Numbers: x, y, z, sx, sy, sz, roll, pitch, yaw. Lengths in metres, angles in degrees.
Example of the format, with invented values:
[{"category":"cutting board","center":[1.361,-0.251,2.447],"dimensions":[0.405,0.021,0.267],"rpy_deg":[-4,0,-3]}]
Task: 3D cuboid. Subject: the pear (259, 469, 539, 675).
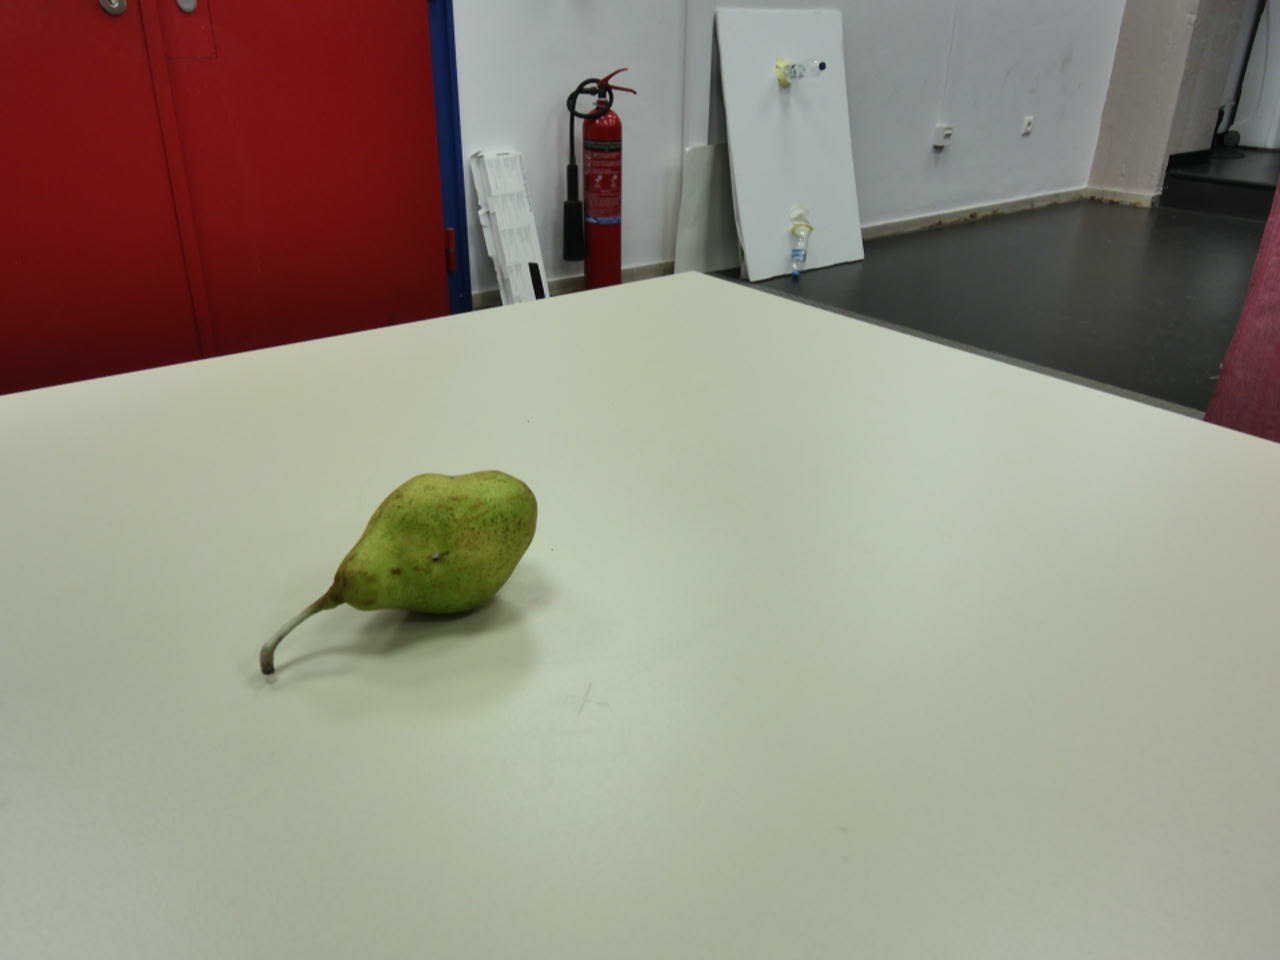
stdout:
[{"category":"pear","center":[-0.093,0.028,0.384],"dimensions":[0.111,0.056,0.056],"rpy_deg":[-10,25,-22]}]
